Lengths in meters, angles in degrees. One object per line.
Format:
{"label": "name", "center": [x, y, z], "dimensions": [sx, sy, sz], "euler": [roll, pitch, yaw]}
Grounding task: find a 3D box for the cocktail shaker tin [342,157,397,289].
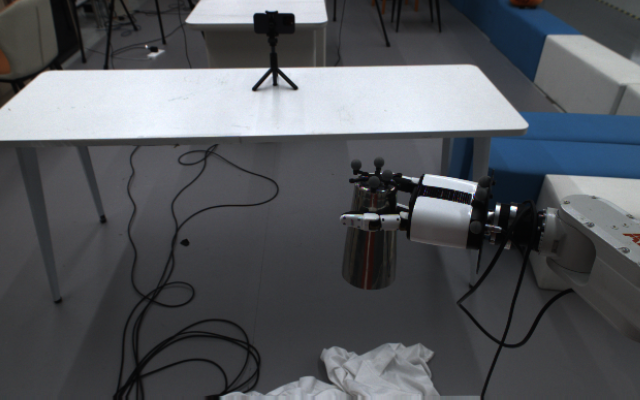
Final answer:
{"label": "cocktail shaker tin", "center": [0.087, 0.046, 0.789], "dimensions": [0.093, 0.170, 0.093], "euler": [1, 27, -1]}
